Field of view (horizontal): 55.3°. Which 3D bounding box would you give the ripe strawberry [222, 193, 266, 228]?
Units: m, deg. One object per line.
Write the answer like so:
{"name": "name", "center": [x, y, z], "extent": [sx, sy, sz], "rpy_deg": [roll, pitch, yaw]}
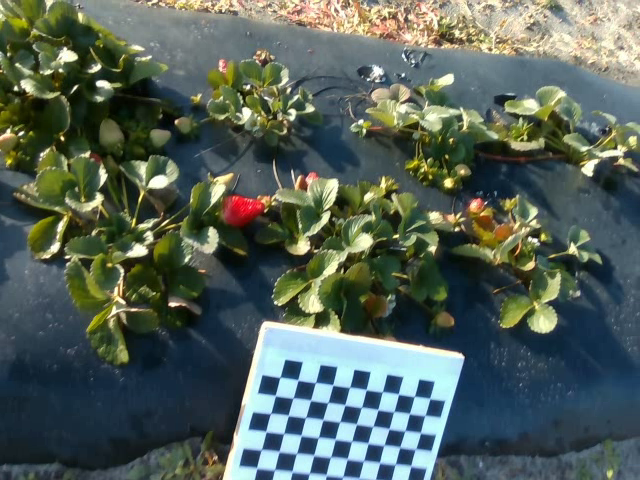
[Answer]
{"name": "ripe strawberry", "center": [-0.110, -0.044, 0.850], "extent": [0.072, 0.057, 0.055], "rpy_deg": [-10, 16, -2]}
